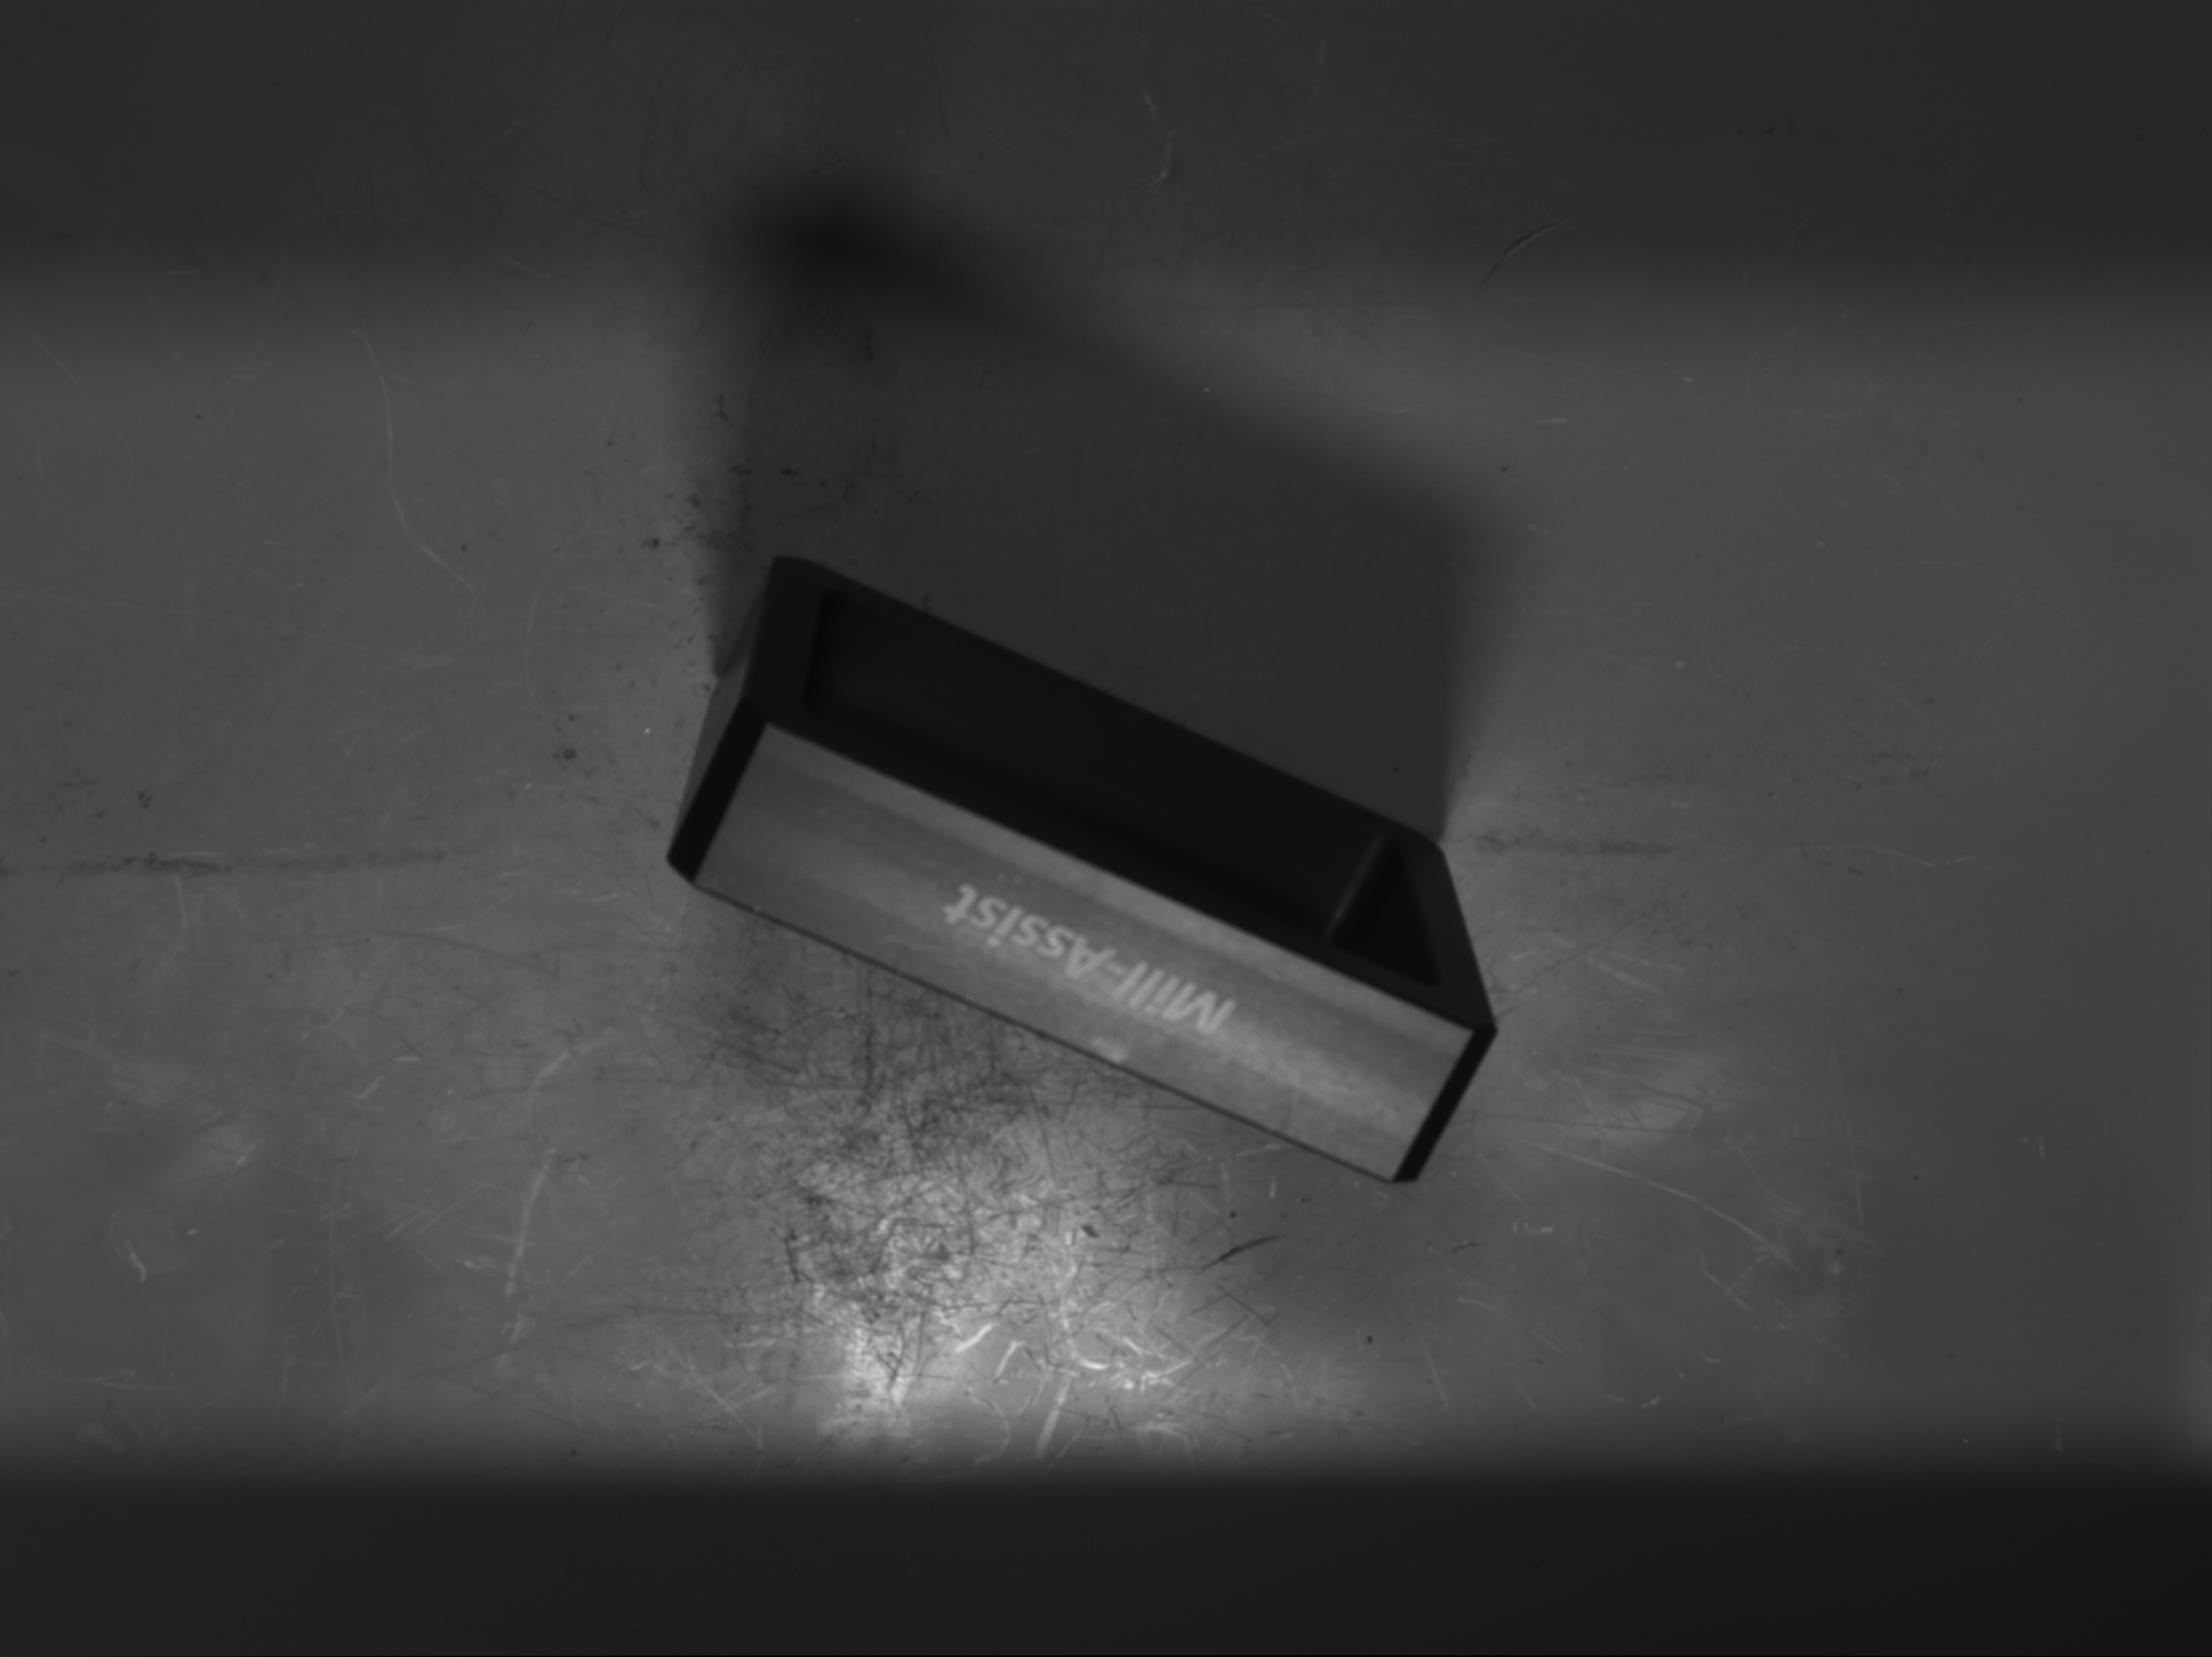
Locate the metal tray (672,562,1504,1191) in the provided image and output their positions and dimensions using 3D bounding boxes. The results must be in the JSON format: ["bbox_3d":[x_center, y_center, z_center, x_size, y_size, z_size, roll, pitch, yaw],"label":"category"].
[{"bbox_3d":[-0.003,0.006,0.607,0.130,0.090,0.030,24,108,-9],"label":"metal tray"}]
